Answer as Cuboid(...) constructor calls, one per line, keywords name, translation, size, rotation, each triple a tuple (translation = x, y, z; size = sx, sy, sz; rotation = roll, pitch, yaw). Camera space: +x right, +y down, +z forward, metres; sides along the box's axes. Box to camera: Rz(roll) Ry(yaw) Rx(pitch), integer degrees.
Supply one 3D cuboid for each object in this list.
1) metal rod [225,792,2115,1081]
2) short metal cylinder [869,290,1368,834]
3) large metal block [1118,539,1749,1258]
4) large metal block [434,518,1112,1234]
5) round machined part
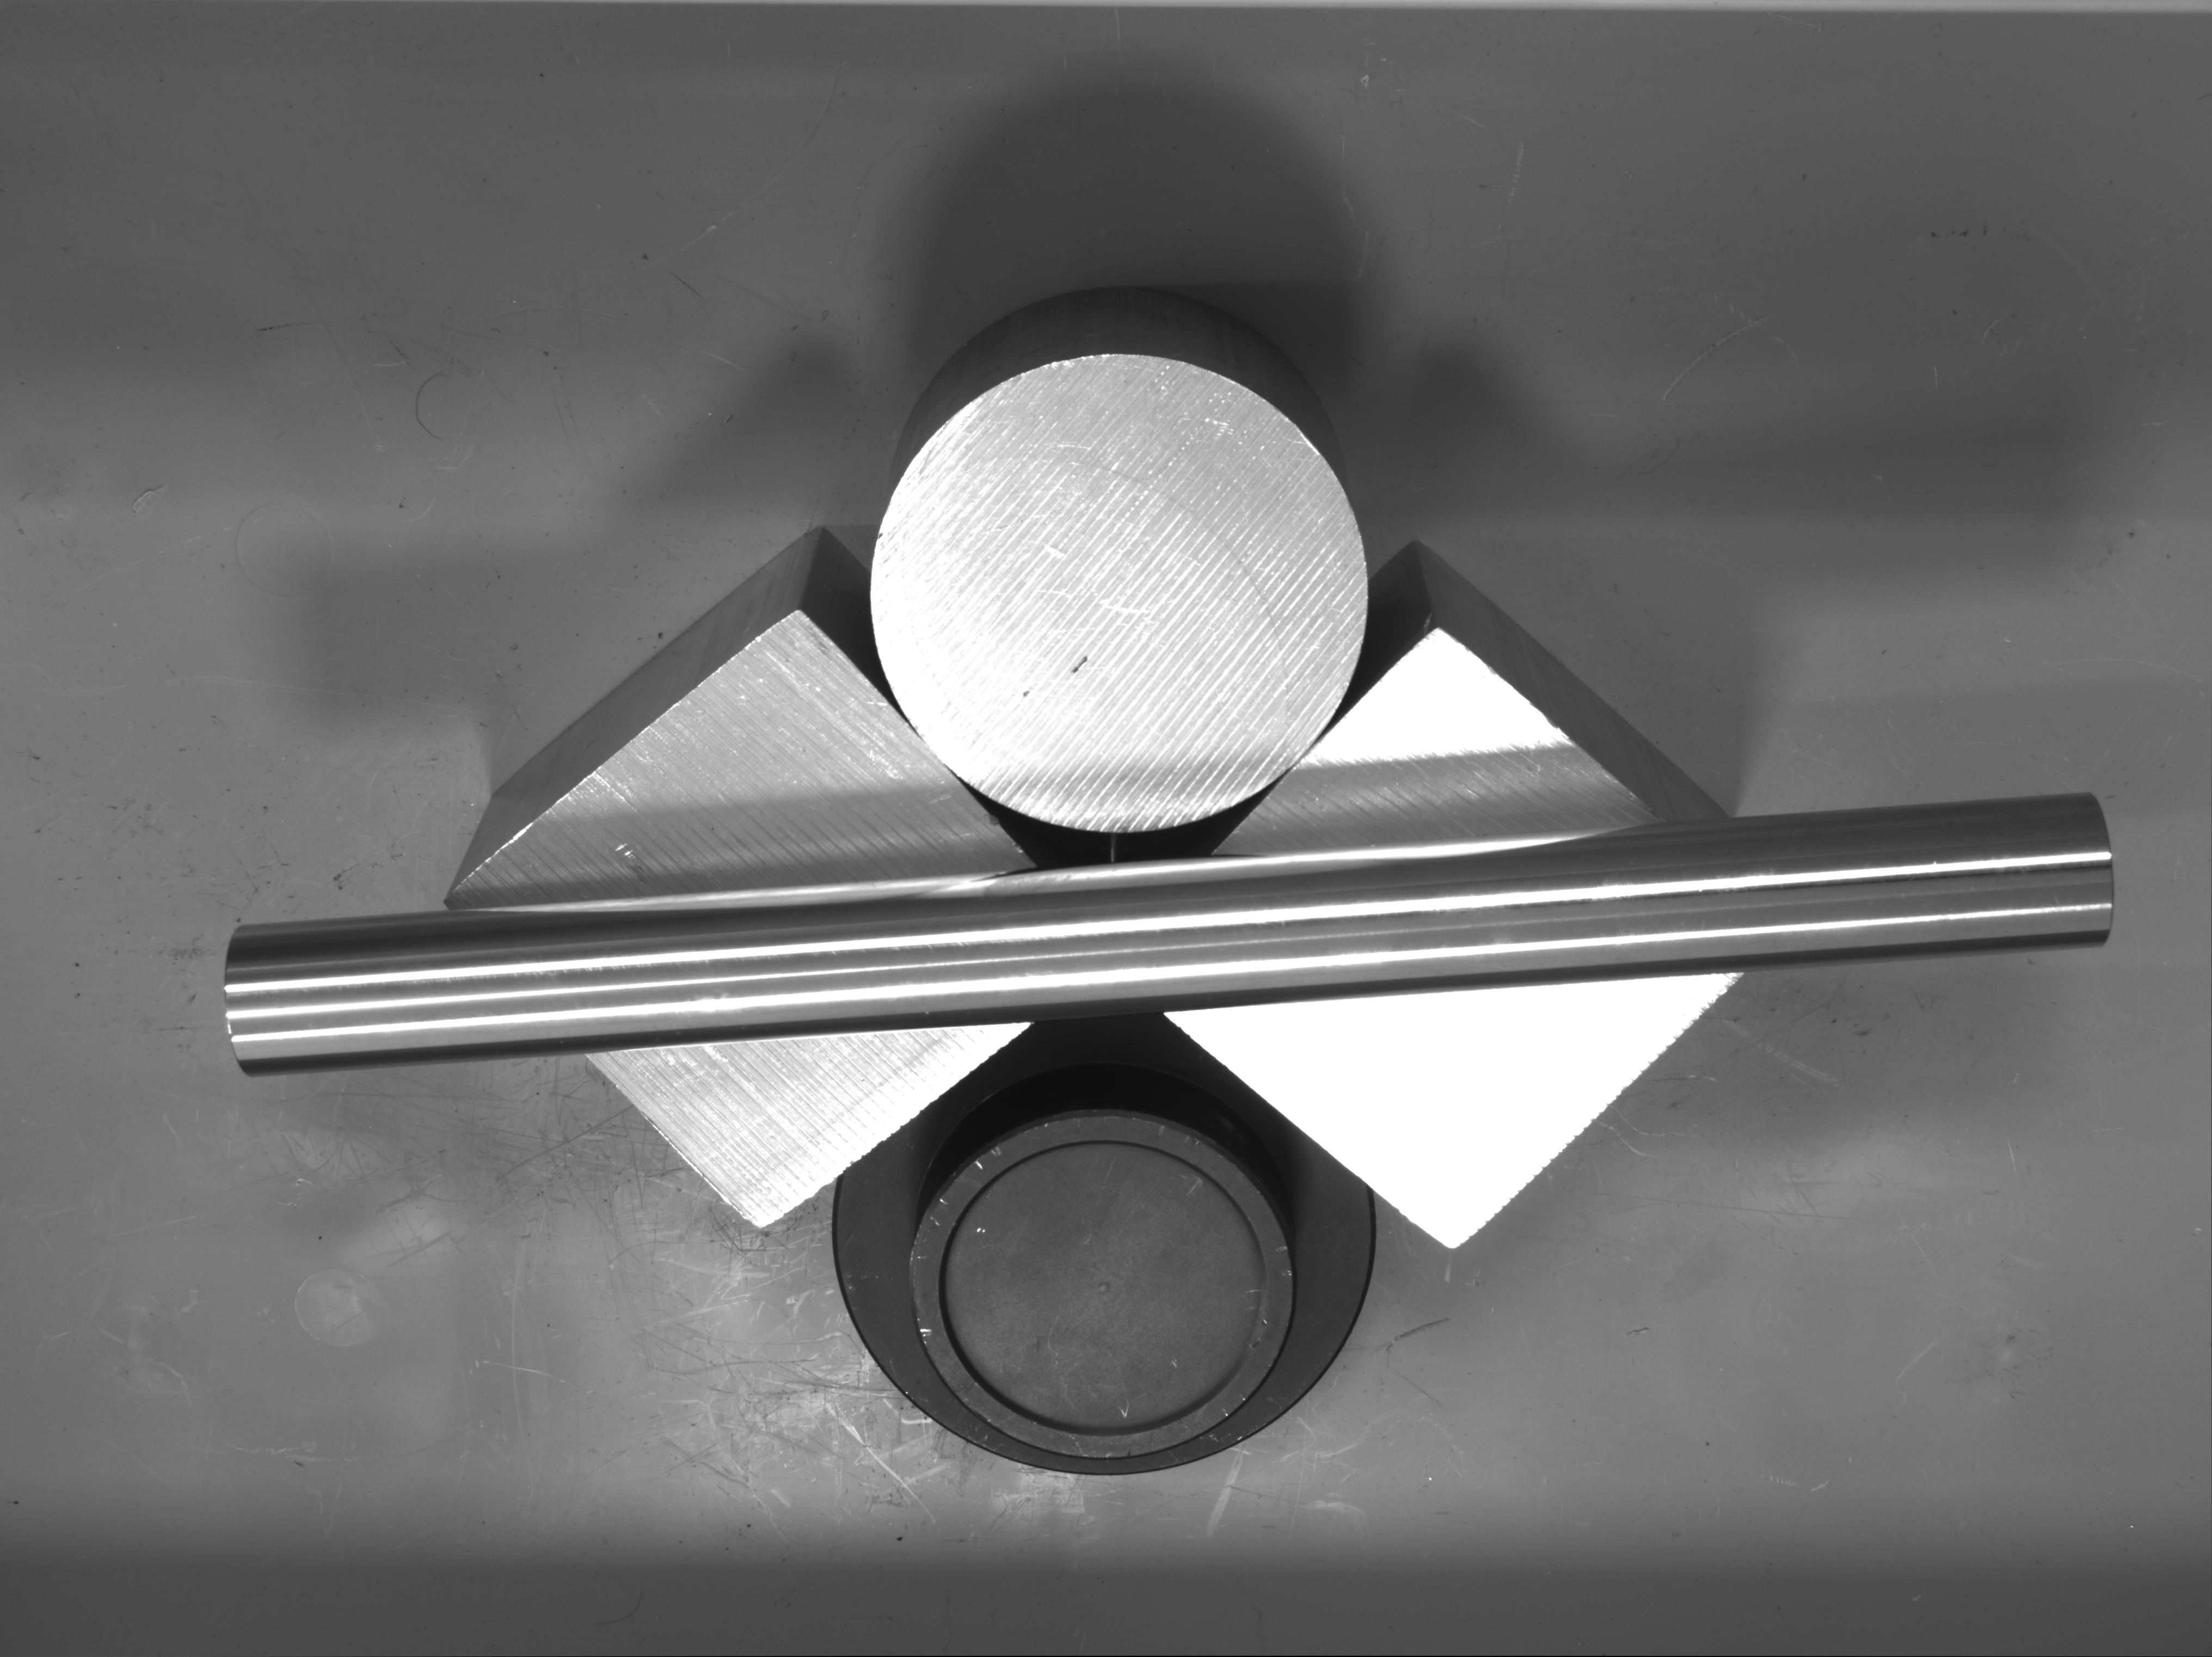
Cuboid(name="metal rod", translation=(0.009, 0.018, 0.594), size=(0.300, 0.025, 0.025), rotation=(-4, 110, 2))
Cuboid(name="short metal cylinder", translation=(0.002, -0.045, 0.613), size=(0.080, 0.050, 0.080), rotation=(0, 110, 0))
Cuboid(name="large metal block", translation=(0.057, 0.012, 0.631), size=(0.080, 0.050, 0.080), rotation=(40, 106, -13))
Cuboid(name="large metal block", translation=(-0.055, 0.008, 0.632), size=(0.080, 0.050, 0.080), rotation=(-38, 107, 12))
Cuboid(name="round machined part", translation=(0.000, 0.074, 0.660), size=(0.098, 0.042, 0.098), rotation=(0, 110, 0))
